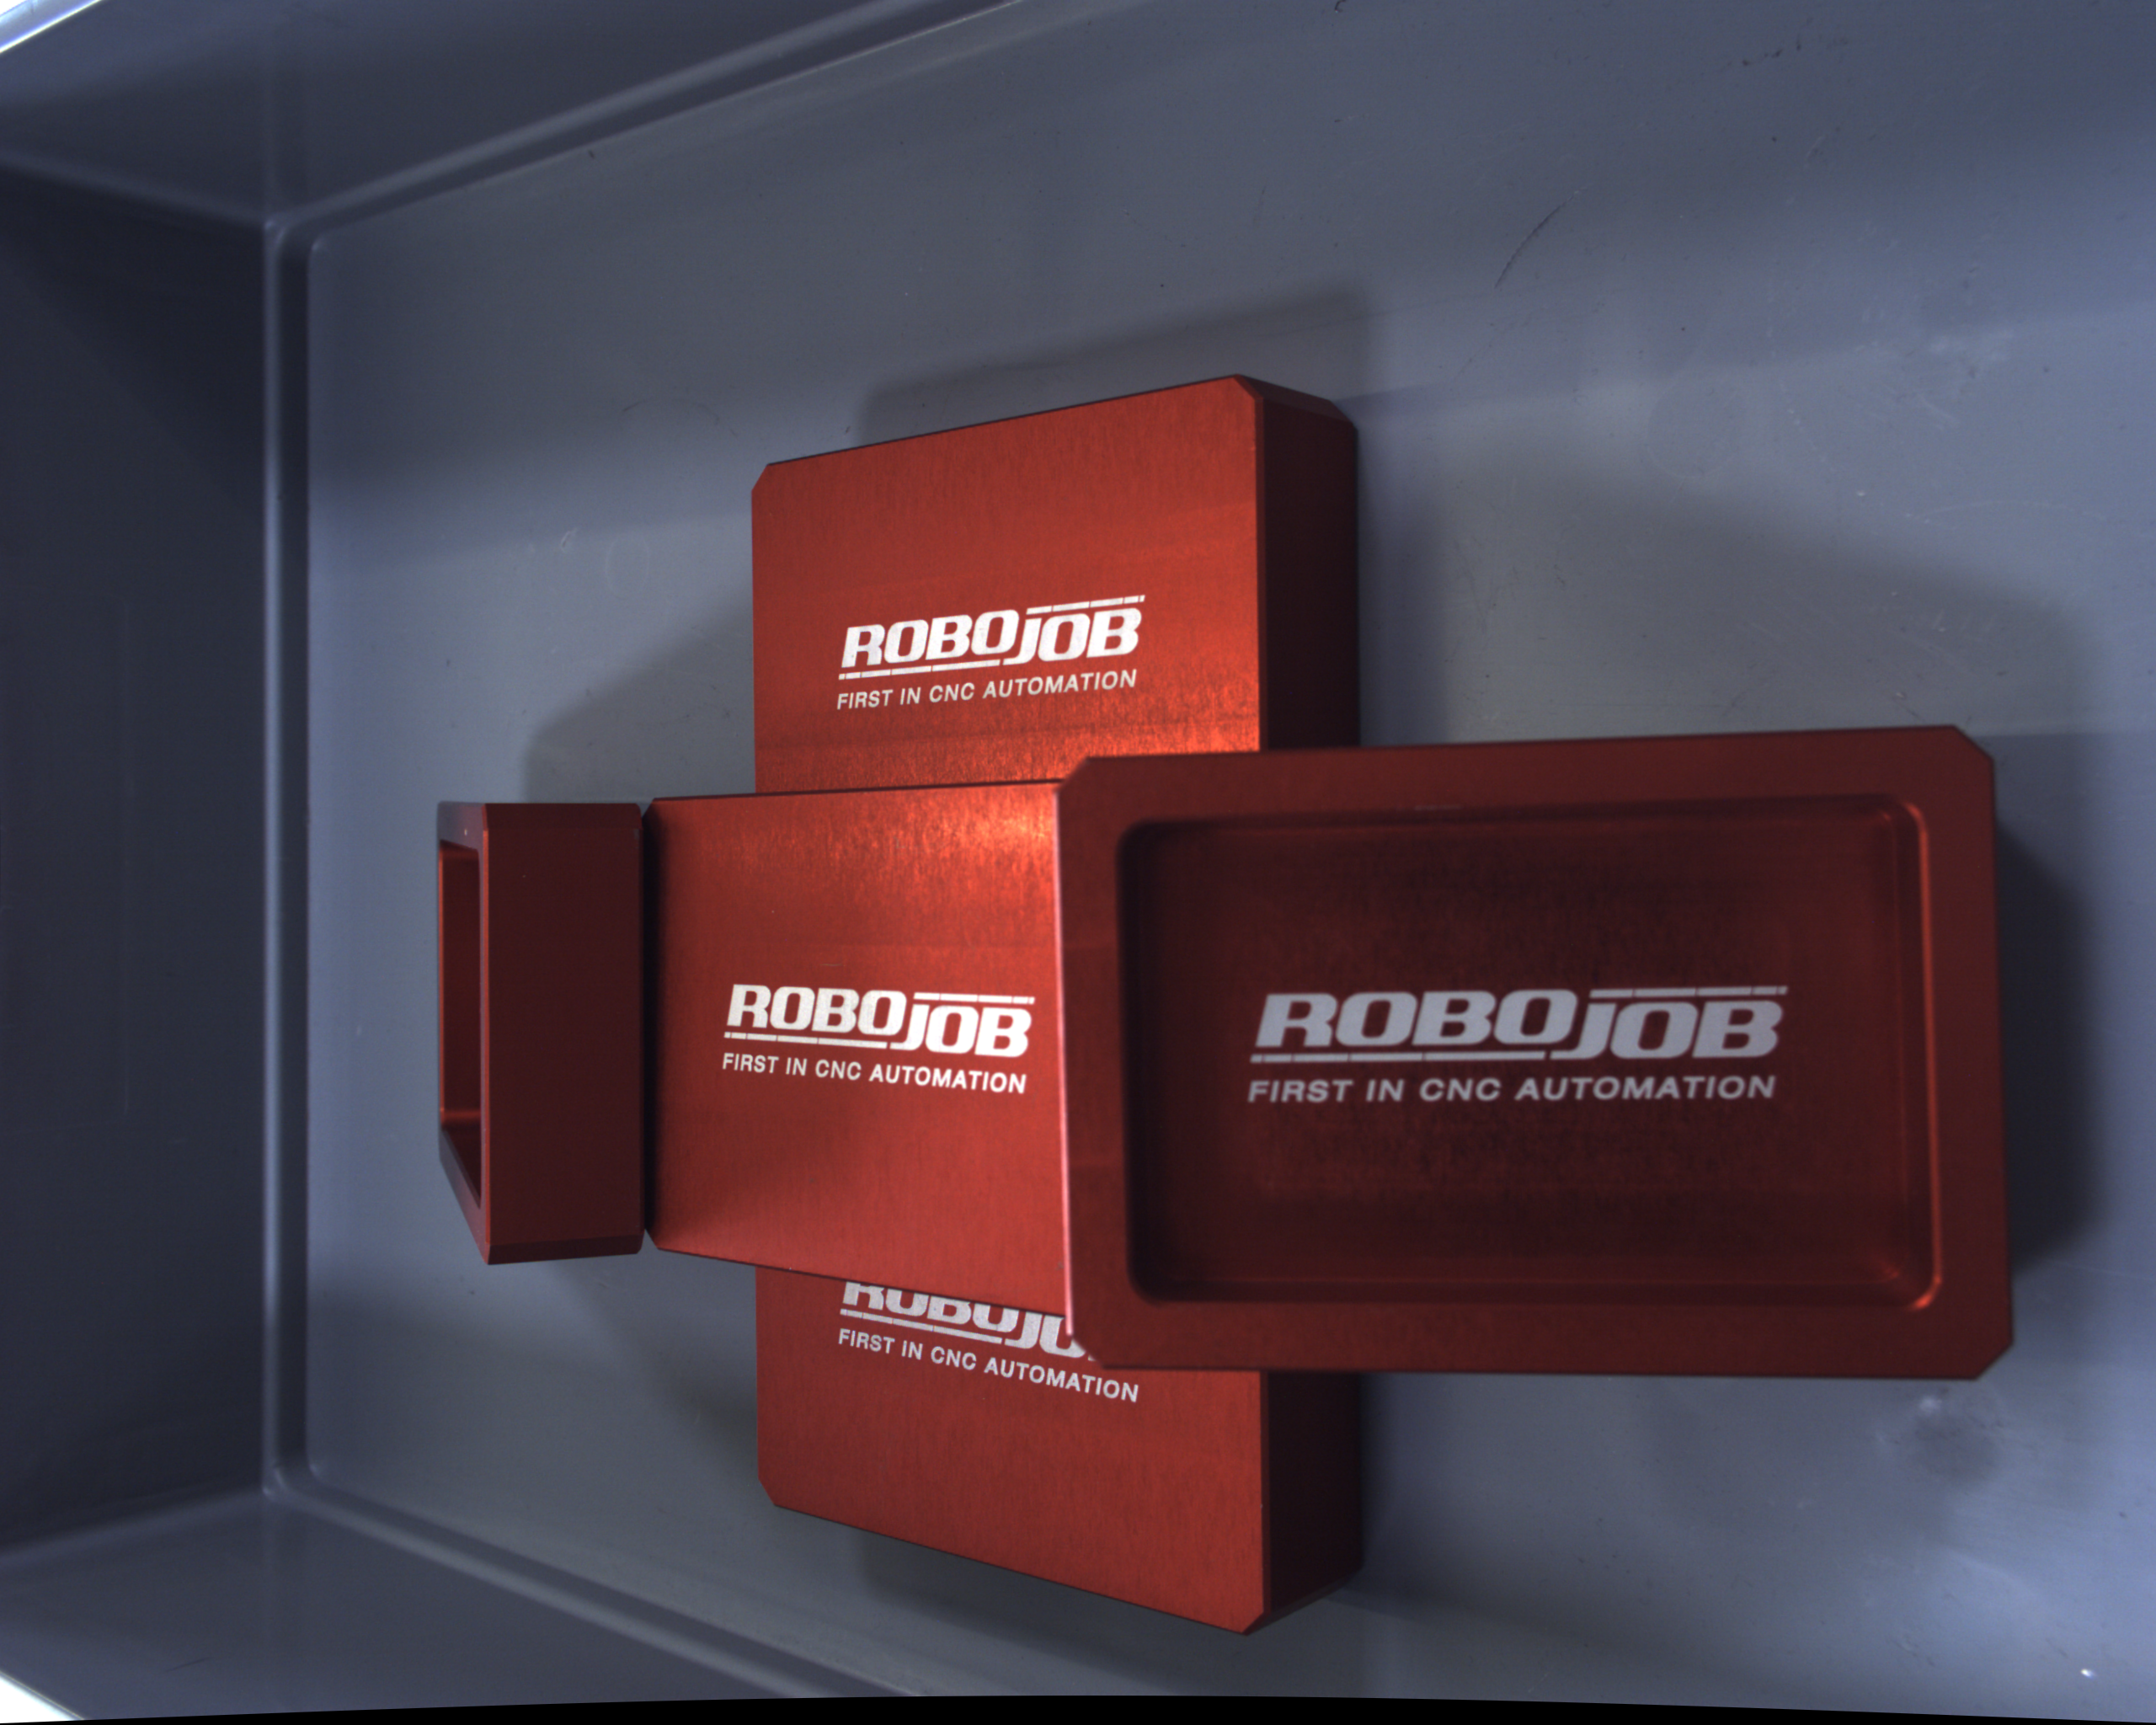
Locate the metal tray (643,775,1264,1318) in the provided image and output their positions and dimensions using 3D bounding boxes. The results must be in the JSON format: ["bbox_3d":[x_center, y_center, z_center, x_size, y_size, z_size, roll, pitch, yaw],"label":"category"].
[{"bbox_3d":[-0.028,0.031,0.386,0.130,0.030,0.089,-1,89,39],"label":"metal tray"}]

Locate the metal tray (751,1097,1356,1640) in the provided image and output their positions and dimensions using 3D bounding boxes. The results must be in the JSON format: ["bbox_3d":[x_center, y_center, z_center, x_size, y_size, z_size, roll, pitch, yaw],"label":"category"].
[{"bbox_3d":[-0.009,0.089,0.408,0.130,0.030,0.089,0,90,39],"label":"metal tray"}]

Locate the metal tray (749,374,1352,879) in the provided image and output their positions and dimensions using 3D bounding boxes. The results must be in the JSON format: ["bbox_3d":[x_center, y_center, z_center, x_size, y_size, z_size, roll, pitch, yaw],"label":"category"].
[{"bbox_3d":[-0.010,-0.039,0.408,0.130,0.030,0.089,0,90,39],"label":"metal tray"}]

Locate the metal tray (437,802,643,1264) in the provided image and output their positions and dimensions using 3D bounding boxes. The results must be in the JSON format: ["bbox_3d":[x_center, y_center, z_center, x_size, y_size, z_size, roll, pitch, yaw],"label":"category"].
[{"bbox_3d":[-0.122,0.031,0.463,0.130,0.030,0.089,-176,86,-69],"label":"metal tray"}]

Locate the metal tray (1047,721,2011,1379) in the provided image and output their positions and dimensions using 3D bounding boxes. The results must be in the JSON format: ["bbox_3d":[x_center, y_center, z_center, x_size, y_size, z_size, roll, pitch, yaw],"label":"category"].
[{"bbox_3d":[0.063,0.027,0.308,0.131,0.030,0.089,-2,89,10],"label":"metal tray"}]
